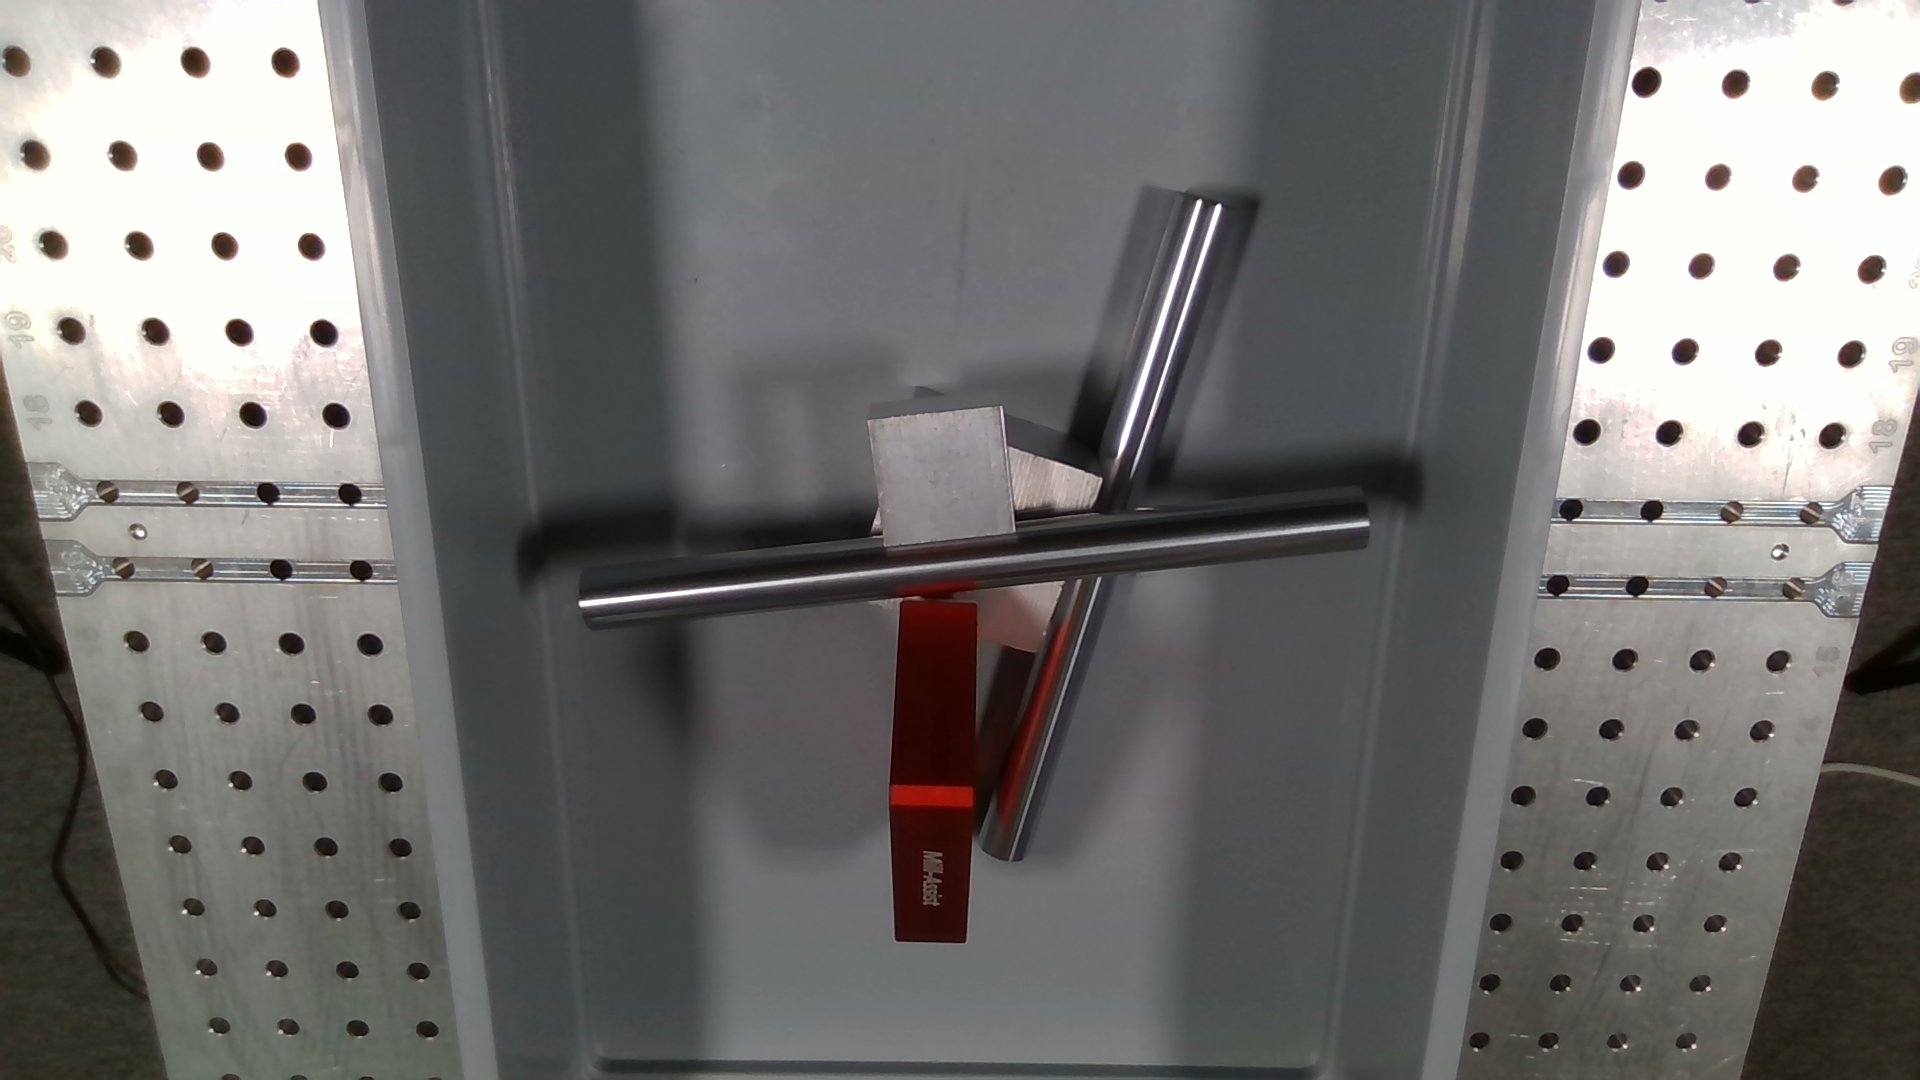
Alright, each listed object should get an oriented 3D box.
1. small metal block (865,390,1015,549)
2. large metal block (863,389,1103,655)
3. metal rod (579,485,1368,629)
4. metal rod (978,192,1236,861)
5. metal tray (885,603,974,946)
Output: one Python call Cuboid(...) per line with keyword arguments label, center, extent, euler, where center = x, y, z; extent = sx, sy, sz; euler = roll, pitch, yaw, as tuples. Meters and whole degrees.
Cuboid(label="small metal block", center=(-0.007, -0.027, 0.520), extent=(0.050, 0.025, 0.050), euler=(-6, 110, 2))
Cuboid(label="large metal block", center=(0.005, -0.009, 0.567), extent=(0.080, 0.050, 0.080), euler=(17, 109, -6))
Cuboid(label="metal rod", center=(0.004, 0.007, 0.533), extent=(0.300, 0.025, 0.025), euler=(-6, 110, 2))
Cuboid(label="metal rod", center=(0.057, 0.005, 0.586), extent=(0.025, 0.025, 0.301), euler=(14, 110, -5))
Cuboid(label="metal tray", center=(-0.011, 0.097, 0.557), extent=(0.030, 0.090, 0.130), euler=(1, 142, 0))
